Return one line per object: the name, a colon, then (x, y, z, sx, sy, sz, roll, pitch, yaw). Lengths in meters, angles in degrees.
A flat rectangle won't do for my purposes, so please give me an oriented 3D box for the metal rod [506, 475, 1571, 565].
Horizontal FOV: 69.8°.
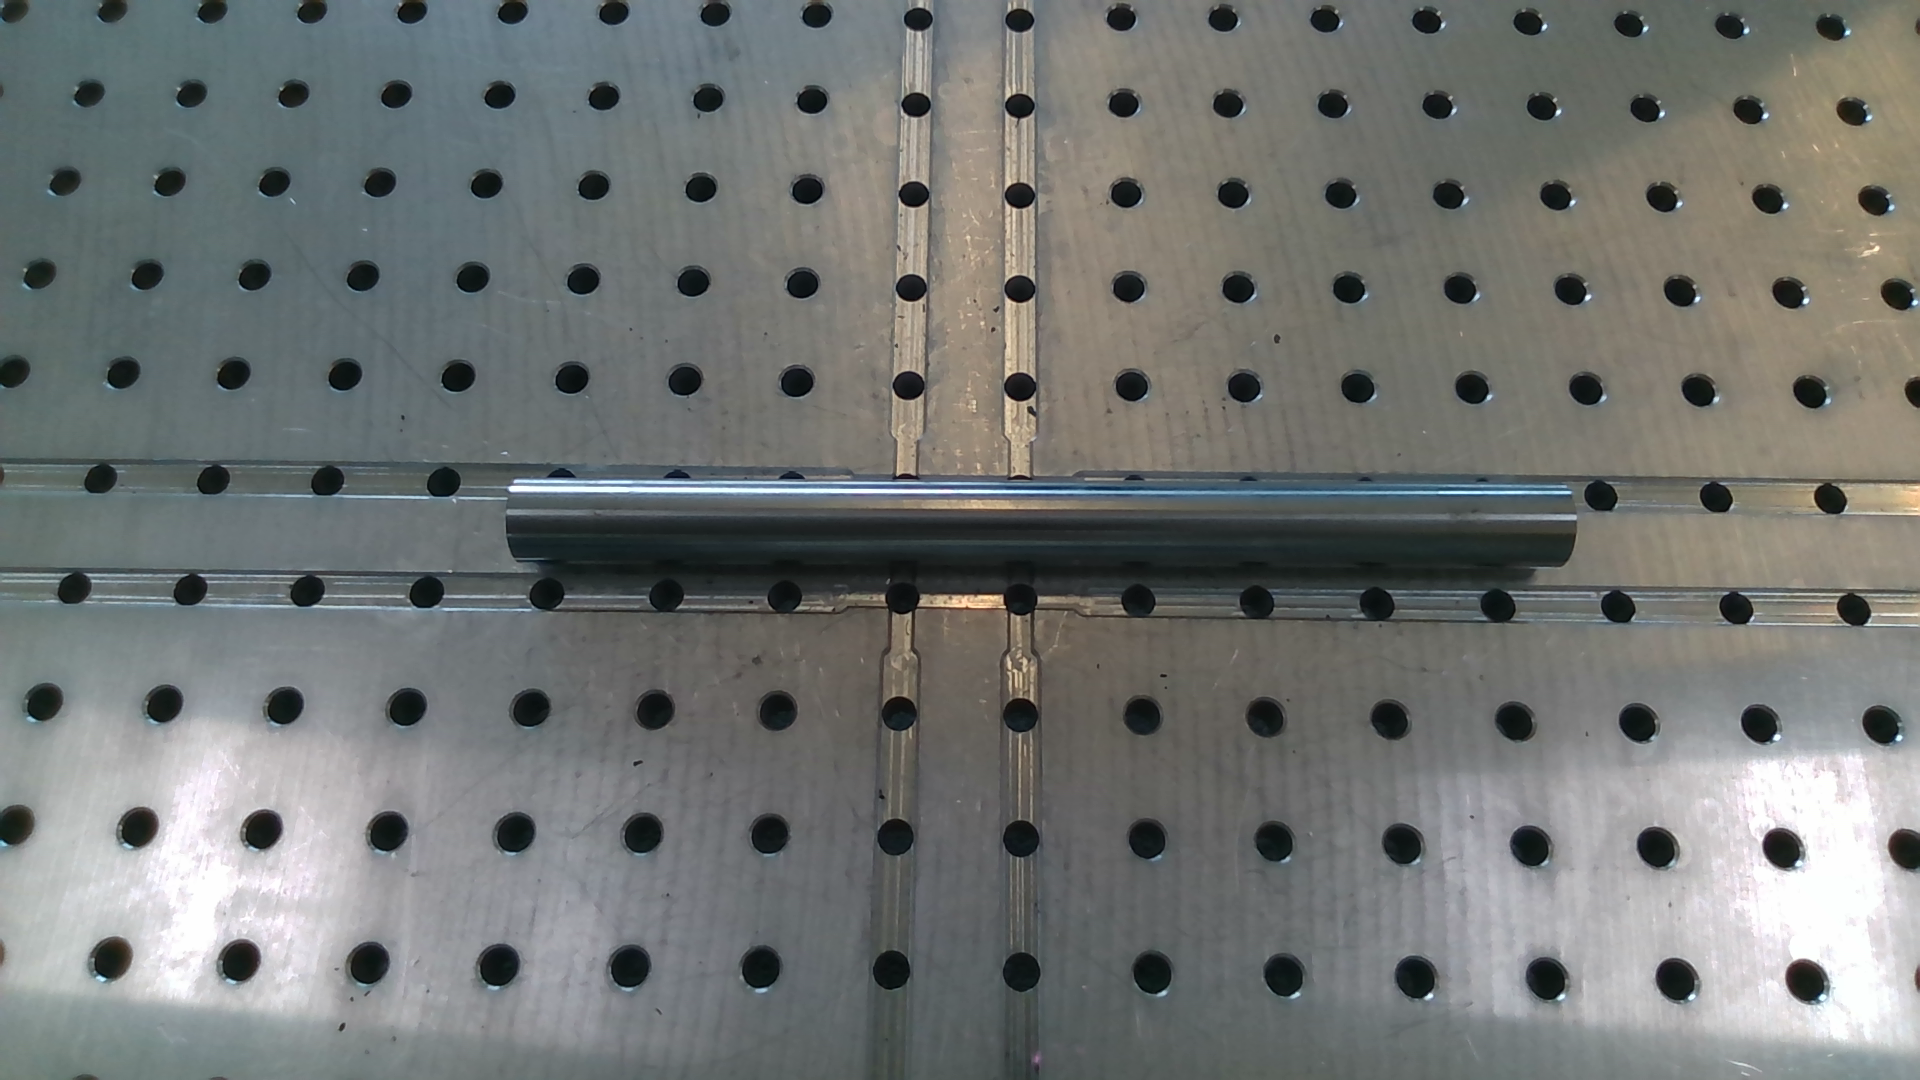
metal rod: (0.022, -0.006, 0.400, 0.300, 0.025, 0.025, 0, 70, 0)
